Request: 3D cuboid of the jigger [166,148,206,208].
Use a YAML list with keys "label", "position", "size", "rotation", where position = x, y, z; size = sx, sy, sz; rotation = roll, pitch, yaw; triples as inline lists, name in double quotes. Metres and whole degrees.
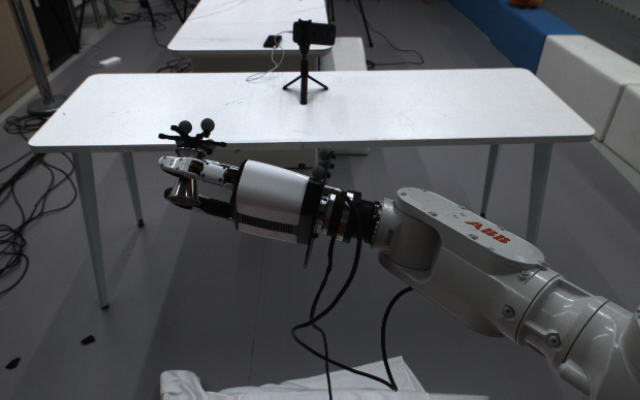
- label: "jigger"
  position: [-0.176, -0.030, 0.638]
  size: [0.043, 0.043, 0.071]
  rotation: [4, 75, 2]
